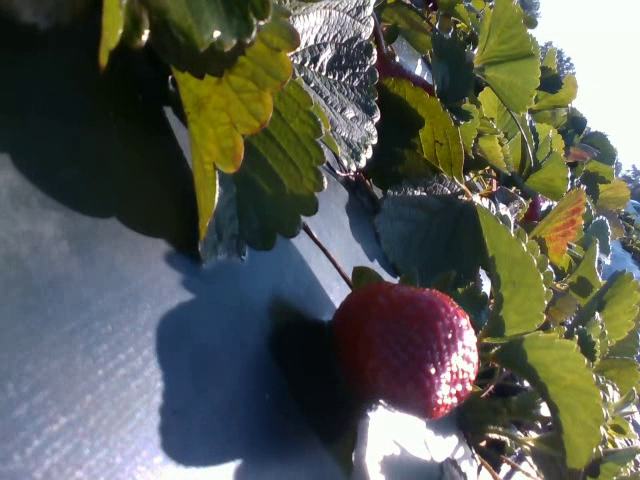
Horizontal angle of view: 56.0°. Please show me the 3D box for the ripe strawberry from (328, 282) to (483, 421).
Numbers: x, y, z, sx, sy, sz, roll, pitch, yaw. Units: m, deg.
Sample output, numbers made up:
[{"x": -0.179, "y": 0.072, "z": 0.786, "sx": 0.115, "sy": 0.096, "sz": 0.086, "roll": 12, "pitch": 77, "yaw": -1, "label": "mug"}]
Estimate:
[{"x": 0.020, "y": 0.031, "z": 0.152, "sx": 0.044, "sy": 0.042, "sz": 0.056, "roll": 9, "pitch": 15, "yaw": 4, "label": "ripe strawberry"}]
